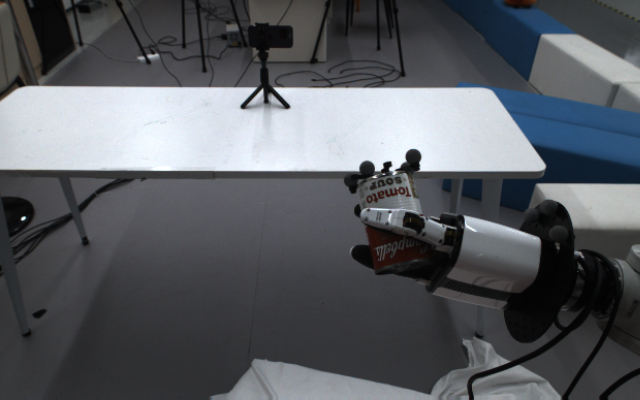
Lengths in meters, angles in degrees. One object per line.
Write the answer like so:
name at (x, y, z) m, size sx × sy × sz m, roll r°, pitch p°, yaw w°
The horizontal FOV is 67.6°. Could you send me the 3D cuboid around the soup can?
soup can at (0.085, 0.025, 0.541) m, size 0.067 × 0.067 × 0.101 m, roll -8°, pitch 74°, yaw -14°
